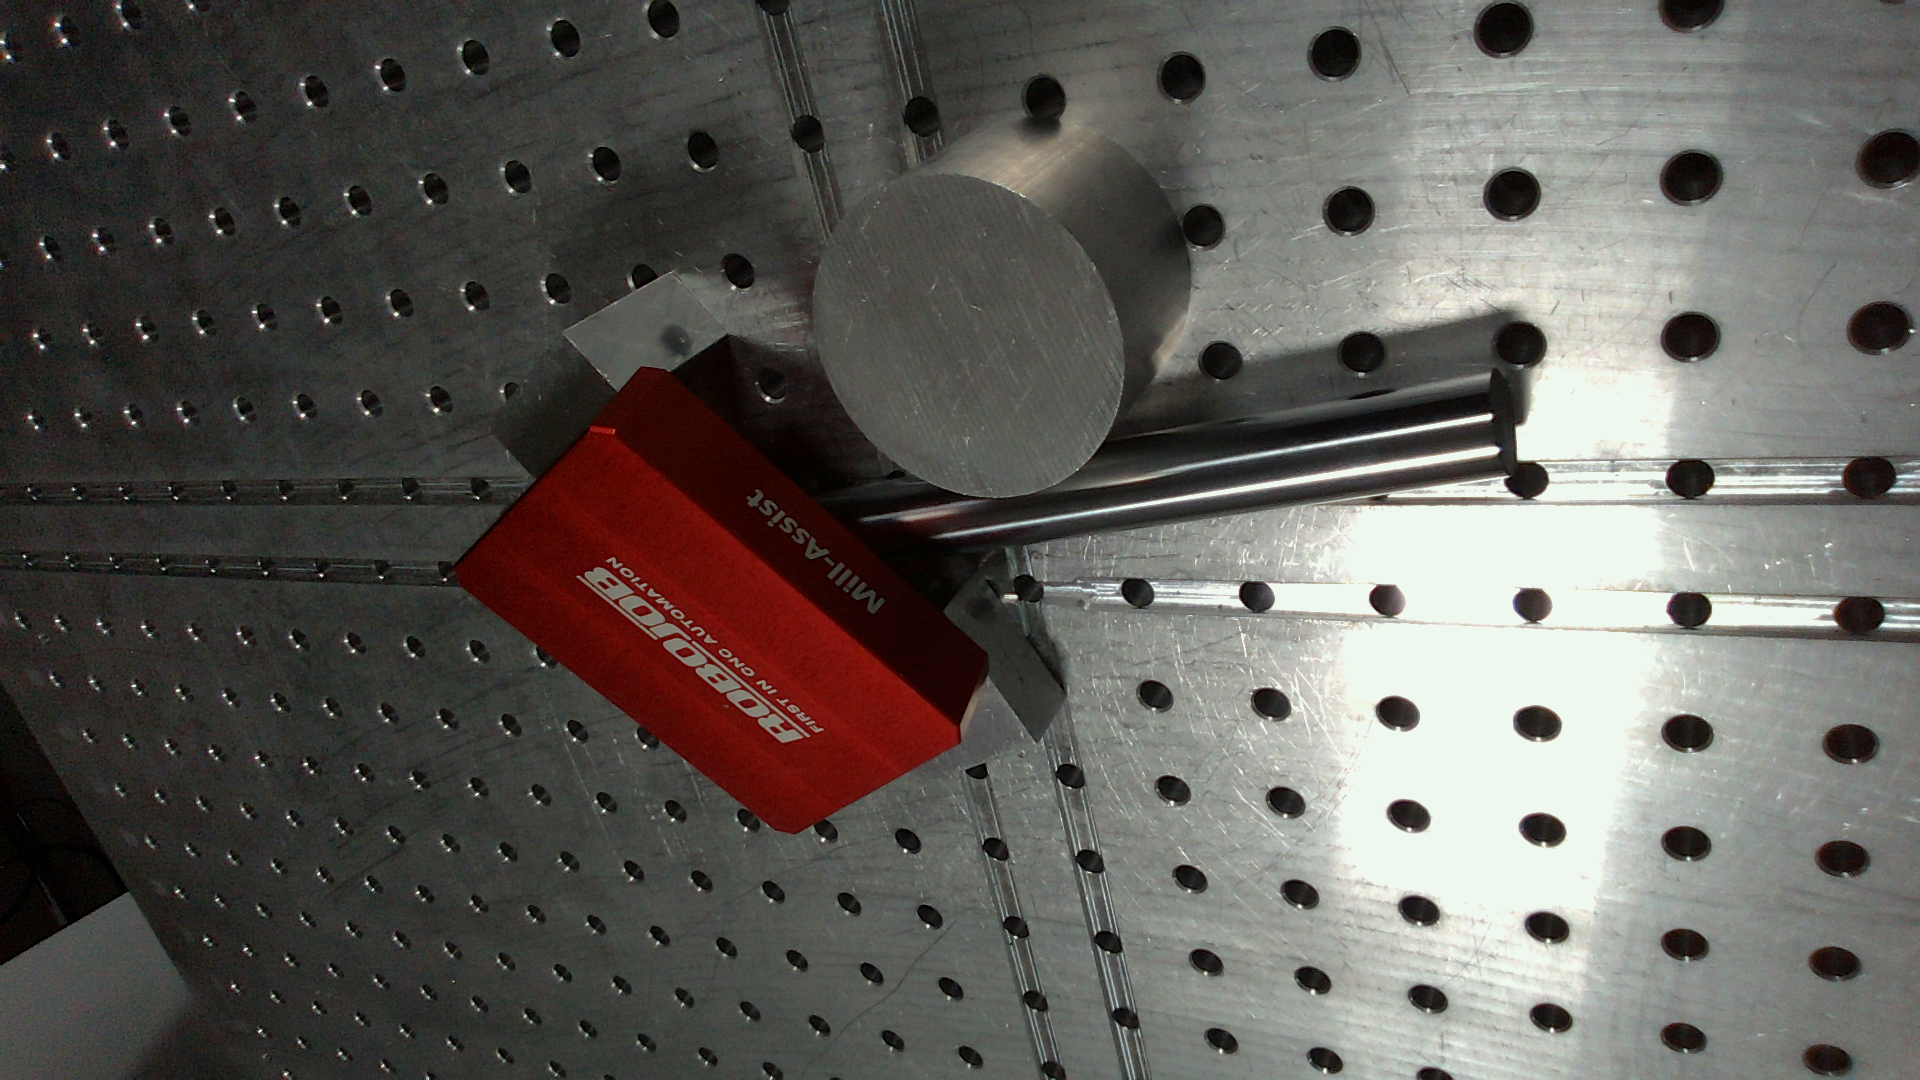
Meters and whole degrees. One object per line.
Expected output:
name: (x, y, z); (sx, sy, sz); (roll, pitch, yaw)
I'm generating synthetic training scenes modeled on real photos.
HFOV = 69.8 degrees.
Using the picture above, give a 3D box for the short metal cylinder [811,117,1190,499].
short metal cylinder: (0.011, -0.057, 0.338); (0.080, 0.050, 0.080); (13, 124, 21)

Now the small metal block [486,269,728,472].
small metal block: (-0.104, -0.048, 0.405); (0.025, 0.050, 0.050); (49, 129, -6)

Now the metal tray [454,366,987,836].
metal tray: (-0.068, 0.023, 0.393); (0.130, 0.030, 0.090); (42, 131, -16)

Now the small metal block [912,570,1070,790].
small metal block: (-0.003, 0.044, 0.423); (0.050, 0.025, 0.050); (-26, 104, 37)

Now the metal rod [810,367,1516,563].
metal rod: (-0.002, -0.008, 0.392); (0.299, 0.025, 0.025); (-8, 114, 32)
